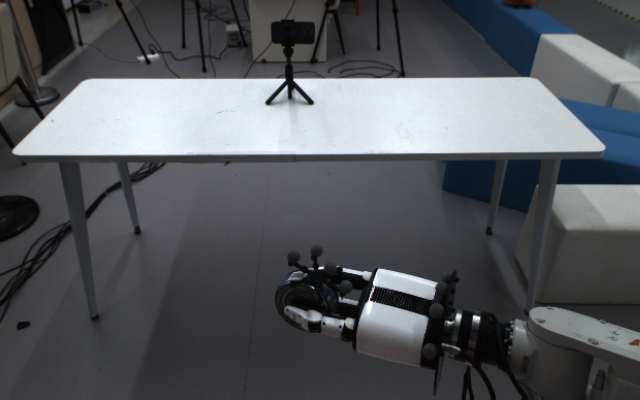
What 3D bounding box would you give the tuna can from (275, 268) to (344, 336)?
[{"bbox_3d":[-0.016,0.147,0.669,0.085,0.085,0.034,15,31,18],"label":"tuna can"}]
